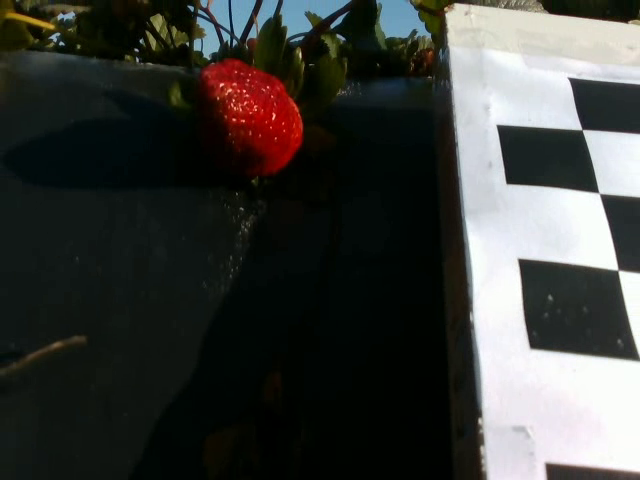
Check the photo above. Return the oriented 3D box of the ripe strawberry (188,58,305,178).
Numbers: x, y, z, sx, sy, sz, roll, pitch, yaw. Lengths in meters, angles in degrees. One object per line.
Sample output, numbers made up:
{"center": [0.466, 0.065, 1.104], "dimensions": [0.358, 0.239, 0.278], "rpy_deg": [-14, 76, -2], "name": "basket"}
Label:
{"center": [-0.008, -0.014, 0.066], "dimensions": [0.015, 0.015, 0.022], "rpy_deg": [13, 1, 4], "name": "ripe strawberry"}
